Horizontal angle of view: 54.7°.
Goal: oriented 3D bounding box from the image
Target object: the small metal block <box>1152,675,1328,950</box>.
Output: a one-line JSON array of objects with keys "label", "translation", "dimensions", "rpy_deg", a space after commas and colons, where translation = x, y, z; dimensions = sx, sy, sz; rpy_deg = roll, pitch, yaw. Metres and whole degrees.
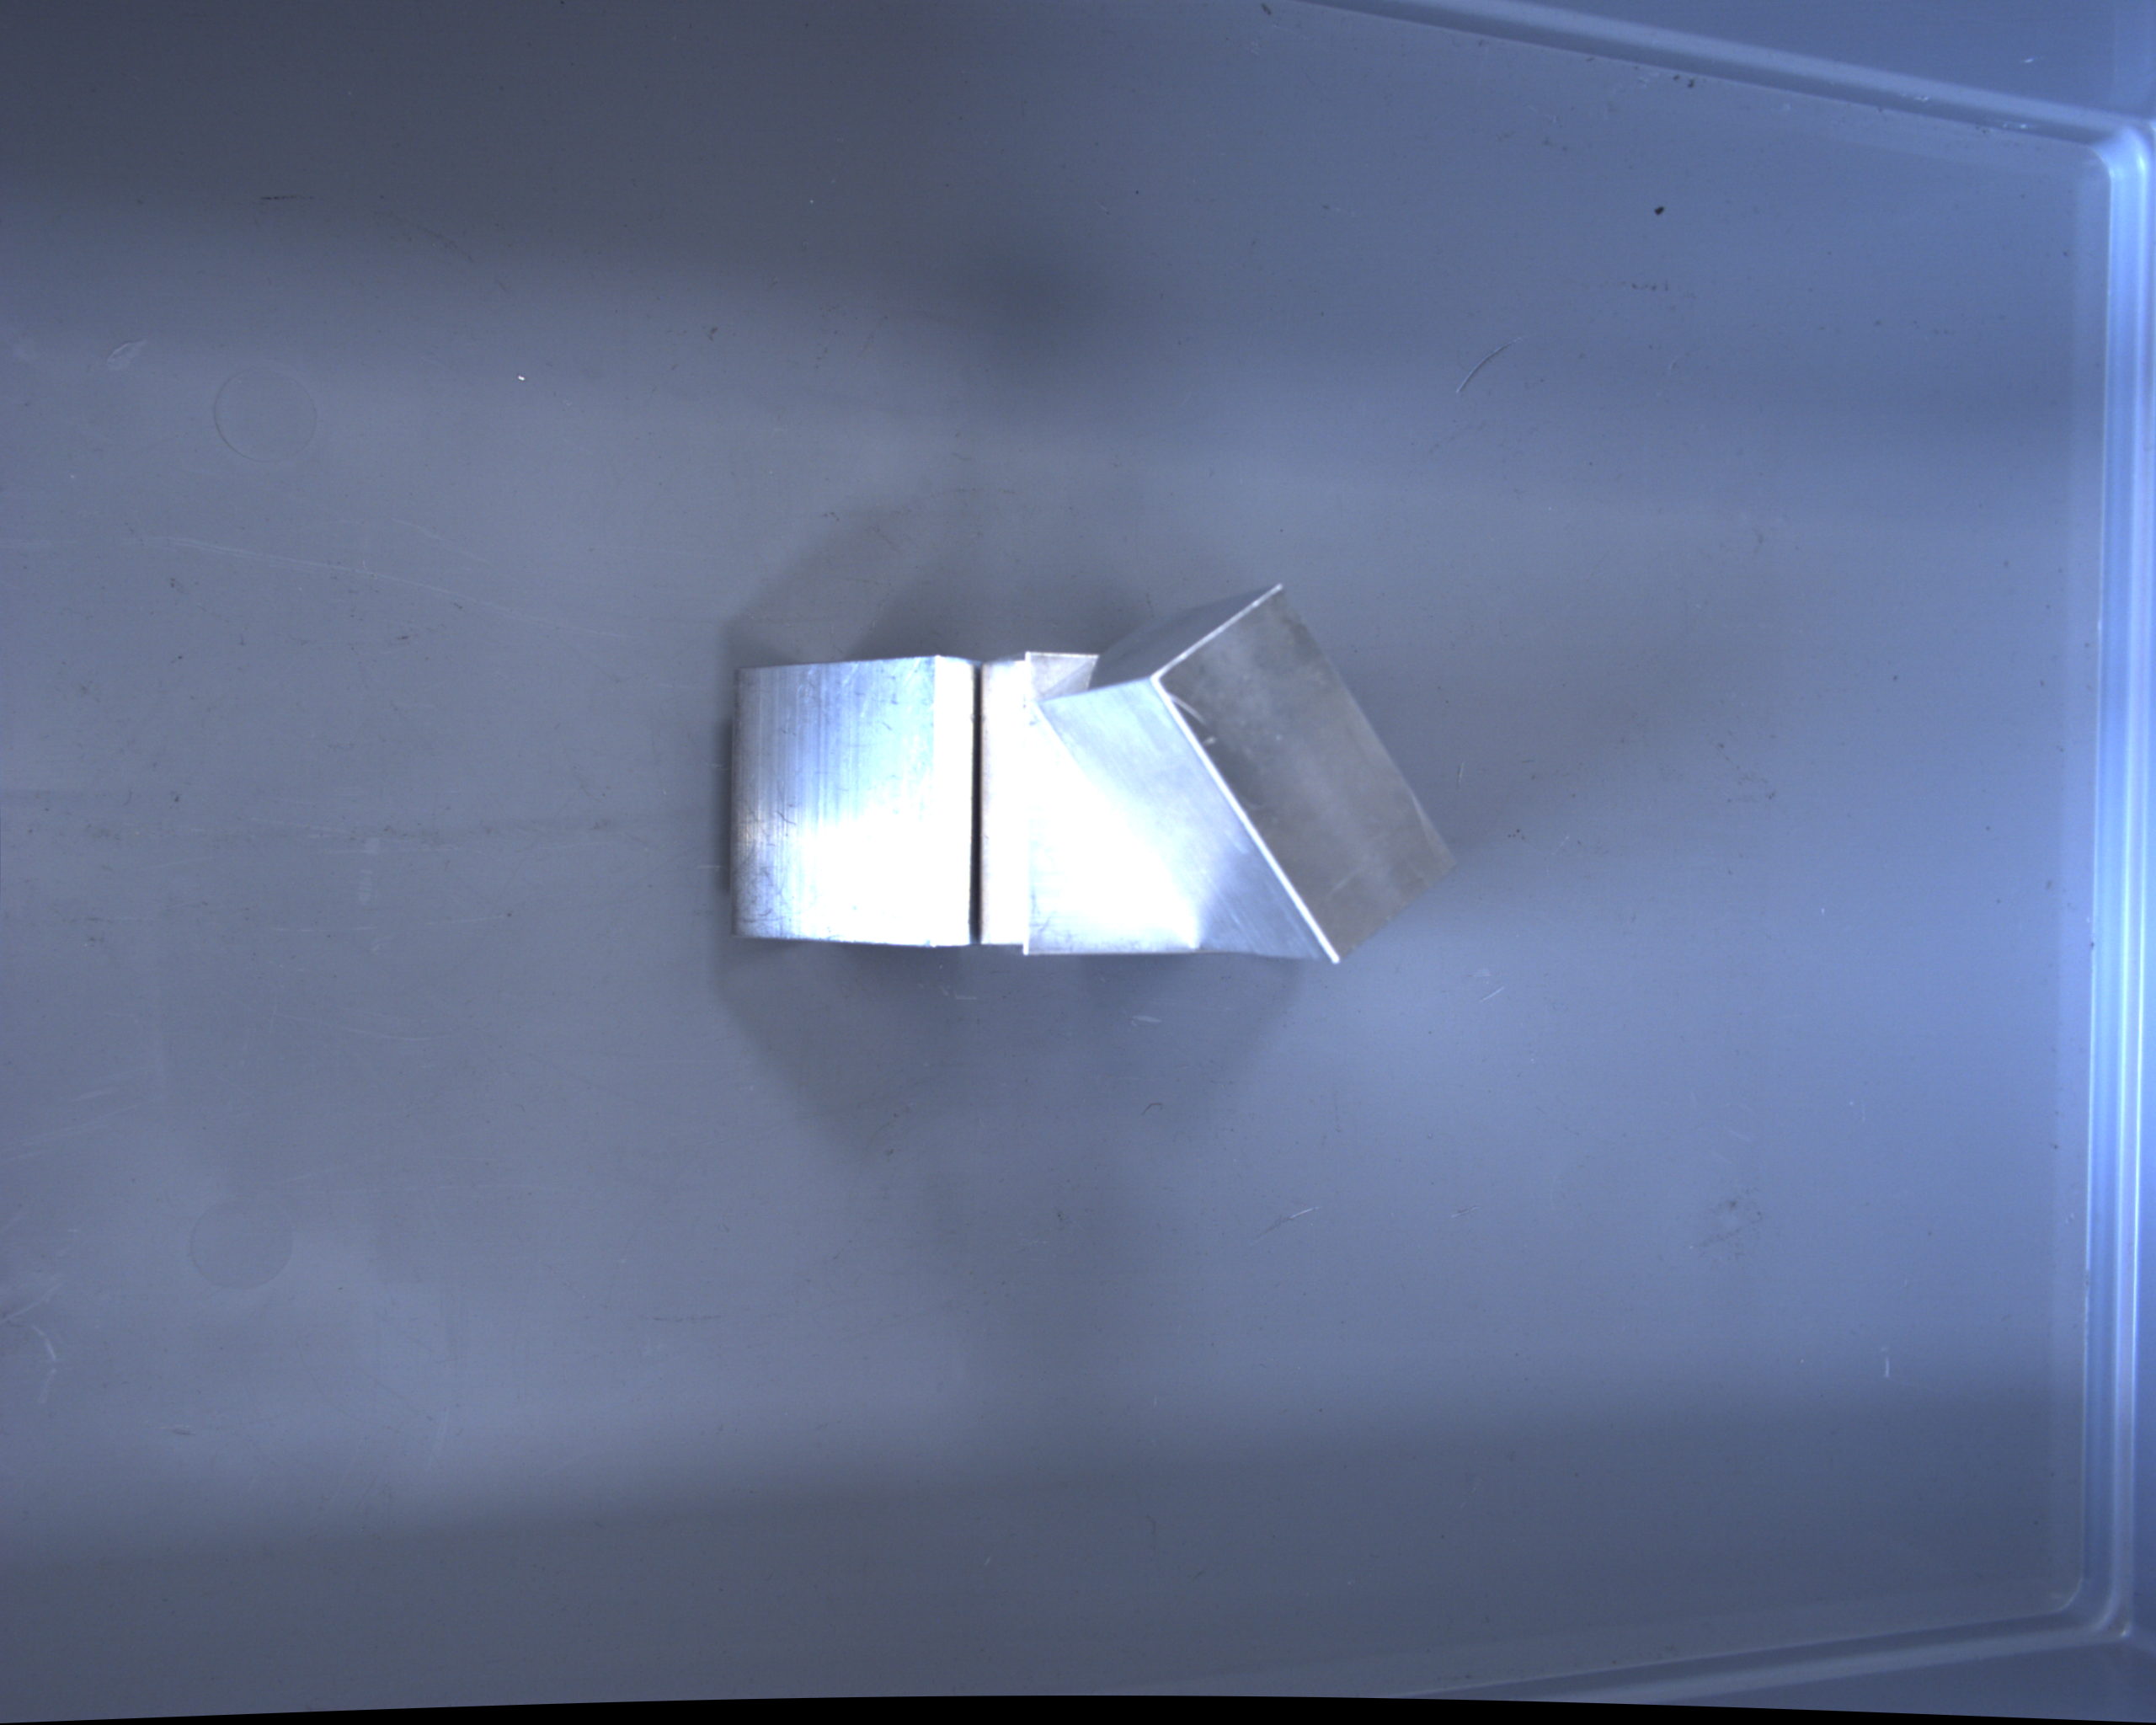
[{"label": "small metal block", "translation": [0.032, -0.009, 0.405], "dimensions": [0.025, 0.050, 0.050], "rpy_deg": [1, 90, 14]}]

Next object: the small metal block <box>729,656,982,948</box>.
[{"label": "small metal block", "translation": [-0.036, -0.010, 0.379], "dimensions": [0.025, 0.050, 0.050], "rpy_deg": [1, 90, -54]}]

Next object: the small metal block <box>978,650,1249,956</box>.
[{"label": "small metal block", "translation": [0.011, -0.009, 0.359], "dimensions": [0.050, 0.025, 0.050], "rpy_deg": [1, 90, -20]}]

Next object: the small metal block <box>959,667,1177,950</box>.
[{"label": "small metal block", "translation": [-0.003, -0.009, 0.394], "dimensions": [0.025, 0.050, 0.050], "rpy_deg": [1, 90, -20]}]

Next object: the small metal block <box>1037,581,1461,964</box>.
[{"label": "small metal block", "translation": [0.025, -0.013, 0.324], "dimensions": [0.025, 0.050, 0.050], "rpy_deg": [-37, 102, -16]}]
